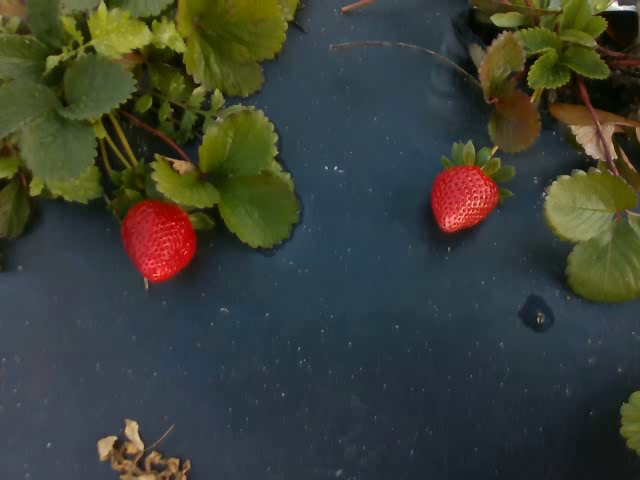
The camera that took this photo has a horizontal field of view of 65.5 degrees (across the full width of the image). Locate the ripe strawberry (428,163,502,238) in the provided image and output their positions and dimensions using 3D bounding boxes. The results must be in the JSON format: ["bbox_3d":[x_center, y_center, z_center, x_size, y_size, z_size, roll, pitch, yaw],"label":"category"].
[{"bbox_3d":[0.070,-0.016,0.256,0.045,0.052,0.041,47,-35,-20],"label":"ripe strawberry"}]

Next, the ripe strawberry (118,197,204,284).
[{"bbox_3d":[-0.085,0.007,0.253,0.050,0.046,0.050,24,34,-14],"label":"ripe strawberry"}]
